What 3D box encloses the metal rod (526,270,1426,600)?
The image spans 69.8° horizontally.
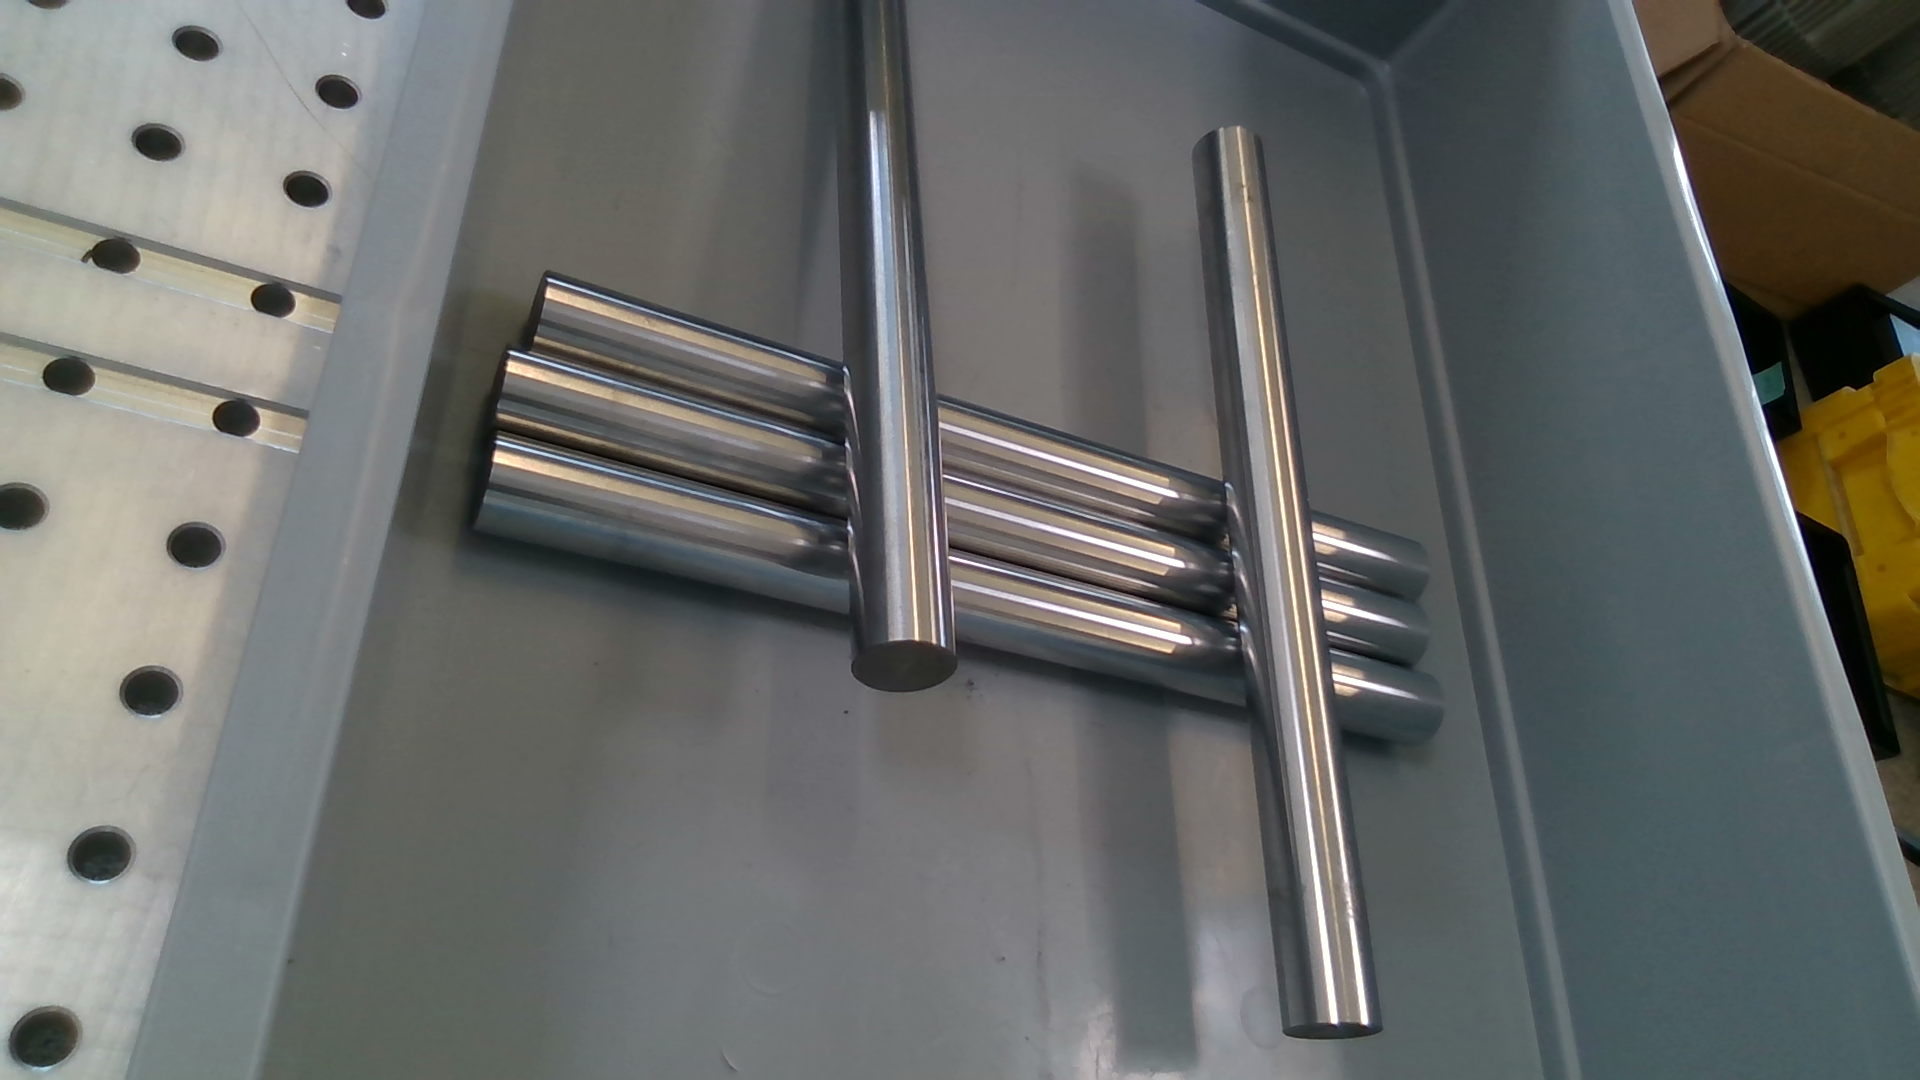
[{"bbox_3d":[0.022,-0.023,0.419,0.300,0.025,0.025,15,58,-25],"label":"metal rod"}]

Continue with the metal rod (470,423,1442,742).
[{"bbox_3d":[0.018,0.019,0.392,0.300,0.025,0.025,15,58,-25],"label":"metal rod"}]

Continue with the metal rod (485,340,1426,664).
[{"bbox_3d":[0.017,-0.002,0.405,0.300,0.025,0.025,15,58,-25],"label":"metal rod"}]

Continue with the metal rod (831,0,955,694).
[{"bbox_3d":[-0.024,-0.094,0.404,0.025,0.025,0.299,14,52,-25],"label":"metal rod"}]

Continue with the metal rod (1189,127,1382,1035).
[{"bbox_3d":[0.095,-0.007,0.422,0.025,0.025,0.299,14,58,-25],"label":"metal rod"}]
